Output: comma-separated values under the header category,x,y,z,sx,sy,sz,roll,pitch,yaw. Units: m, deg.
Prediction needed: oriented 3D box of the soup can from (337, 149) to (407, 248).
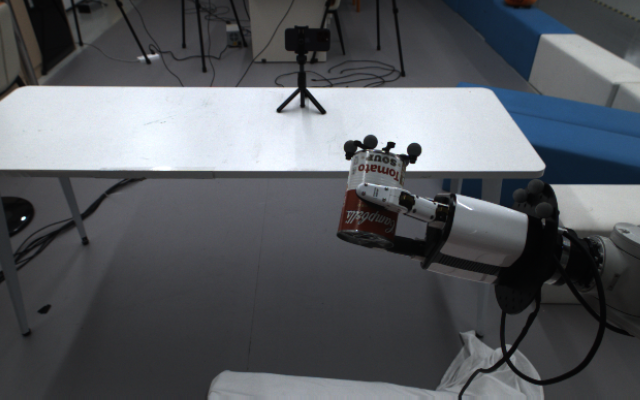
category,x,y,z,sx,sy,sz,roll,pitch,yaw
soup can,0.064,-0.002,0.573,0.067,0.067,0.101,9,74,9
